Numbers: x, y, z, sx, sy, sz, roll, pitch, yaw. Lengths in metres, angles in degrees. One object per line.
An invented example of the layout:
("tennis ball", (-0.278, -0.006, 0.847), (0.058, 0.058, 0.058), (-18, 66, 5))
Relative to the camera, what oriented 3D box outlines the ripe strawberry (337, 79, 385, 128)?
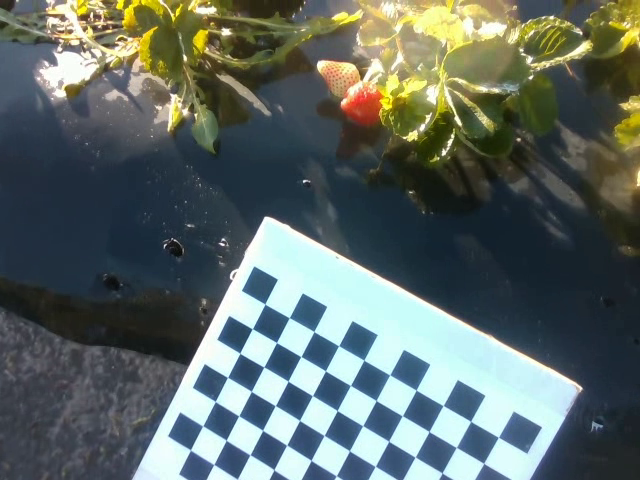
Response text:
("ripe strawberry", (0.033, -0.114, 0.483), (0.040, 0.038, 0.055), (11, 5, 37))
